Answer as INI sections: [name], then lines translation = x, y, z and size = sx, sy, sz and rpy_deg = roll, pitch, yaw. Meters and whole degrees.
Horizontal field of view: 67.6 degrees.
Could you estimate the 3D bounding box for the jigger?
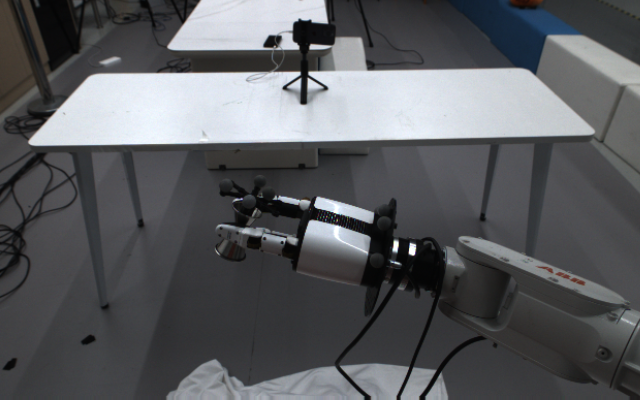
[jigger]
translation = -0.107, 0.041, 0.635
size = 0.043, 0.071, 0.043
rpy_deg = 23, 19, -8
